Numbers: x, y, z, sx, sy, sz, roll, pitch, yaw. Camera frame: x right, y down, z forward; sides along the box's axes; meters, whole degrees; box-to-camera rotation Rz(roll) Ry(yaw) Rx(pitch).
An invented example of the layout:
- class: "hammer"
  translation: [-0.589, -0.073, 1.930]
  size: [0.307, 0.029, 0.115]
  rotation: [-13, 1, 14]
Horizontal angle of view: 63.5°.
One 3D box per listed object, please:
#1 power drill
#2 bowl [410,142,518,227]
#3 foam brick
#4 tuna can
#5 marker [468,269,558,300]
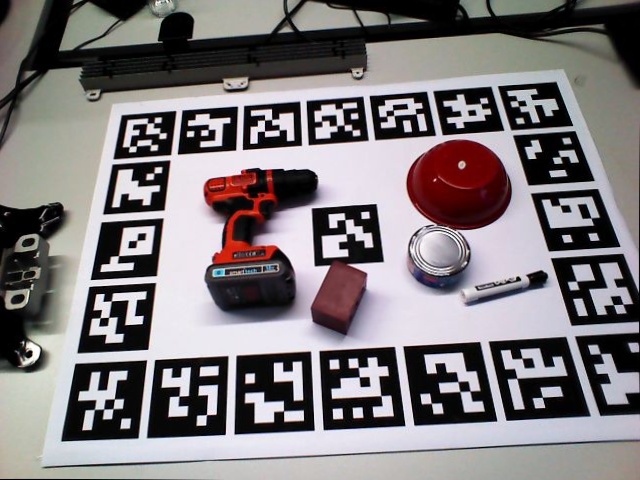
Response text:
- class: "power drill"
  translation: [-0.088, -0.013, 0.754]
  size: [0.185, 0.057, 0.186]
  rotation: [-3, 58, -1]
- class: "bowl"
  translation: [0.218, -0.098, 0.783]
  size: [0.162, 0.055, 0.160]
  rotation: [-5, 53, 6]
- class: "foam brick"
  translation: [0.032, 0.079, 0.697]
  size: [0.051, 0.053, 0.077]
  rotation: [18, 65, 13]
- class: "tuna can"
  translation: [0.174, 0.017, 0.722]
  size: [0.086, 0.034, 0.085]
  rotation: [-1, 60, 2]
- class: "marker"
  translation: [0.262, 0.059, 0.698]
  size: [0.121, 0.020, 0.019]
  rotation: [-12, 62, -3]
